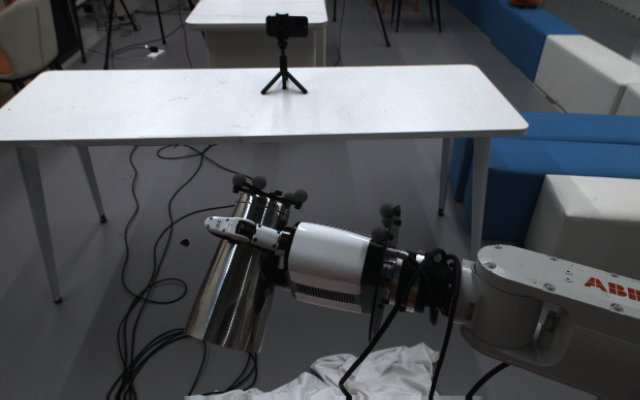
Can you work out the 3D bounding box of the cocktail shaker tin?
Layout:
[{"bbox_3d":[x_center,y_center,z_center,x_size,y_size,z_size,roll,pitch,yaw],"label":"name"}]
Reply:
[{"bbox_3d":[-0.087,0.081,0.573,0.093,0.093,0.170,13,77,15],"label":"cocktail shaker tin"}]
